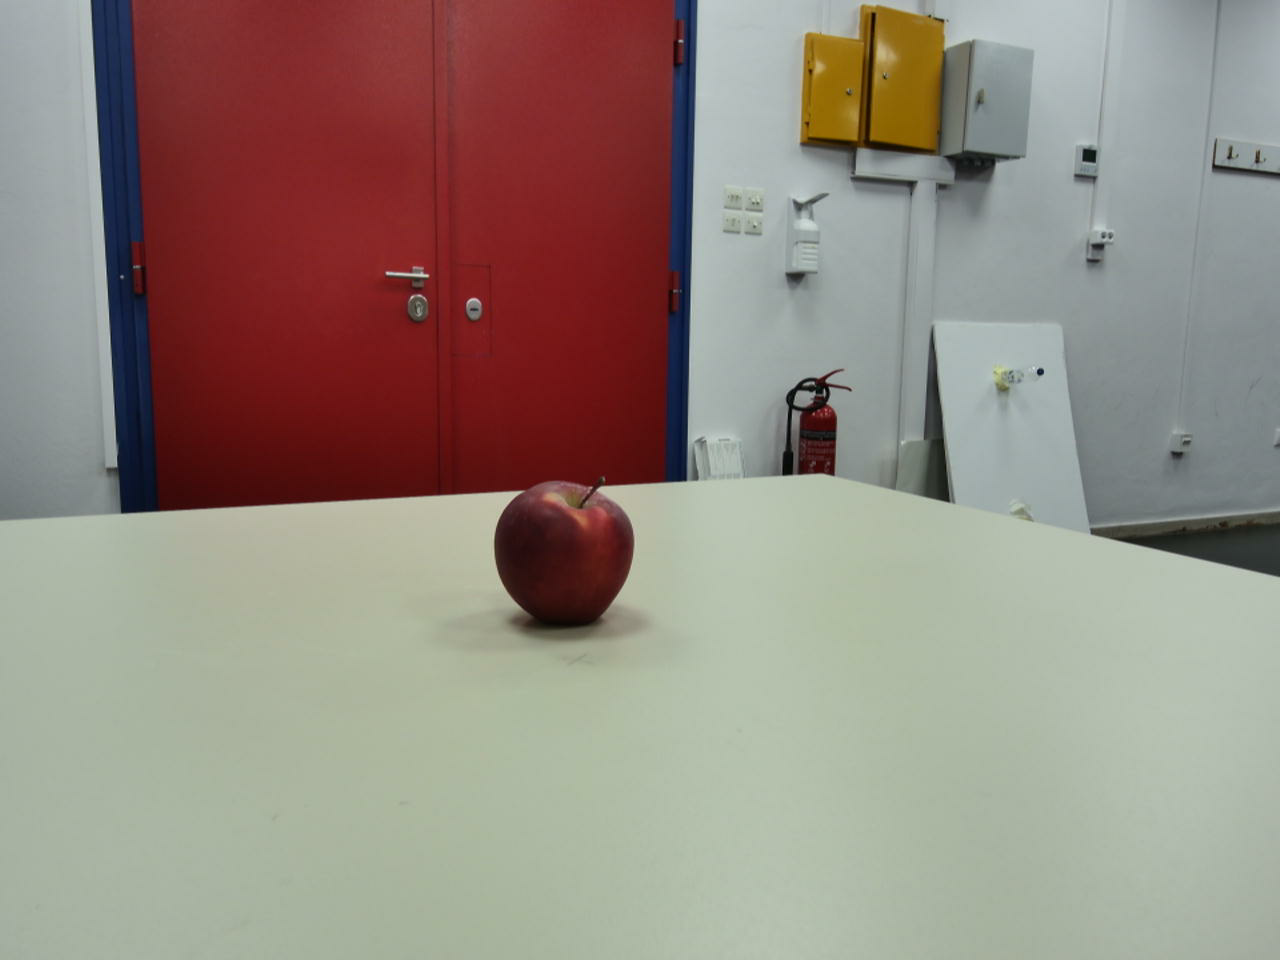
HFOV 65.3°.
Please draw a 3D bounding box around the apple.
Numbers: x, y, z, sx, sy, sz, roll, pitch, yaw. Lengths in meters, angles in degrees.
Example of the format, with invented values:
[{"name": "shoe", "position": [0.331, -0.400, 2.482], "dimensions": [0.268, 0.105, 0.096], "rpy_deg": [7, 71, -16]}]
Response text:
[{"name": "apple", "position": [-0.038, 0.034, 0.502], "dimensions": [0.070, 0.072, 0.070], "rpy_deg": [0, 7, 0]}]
